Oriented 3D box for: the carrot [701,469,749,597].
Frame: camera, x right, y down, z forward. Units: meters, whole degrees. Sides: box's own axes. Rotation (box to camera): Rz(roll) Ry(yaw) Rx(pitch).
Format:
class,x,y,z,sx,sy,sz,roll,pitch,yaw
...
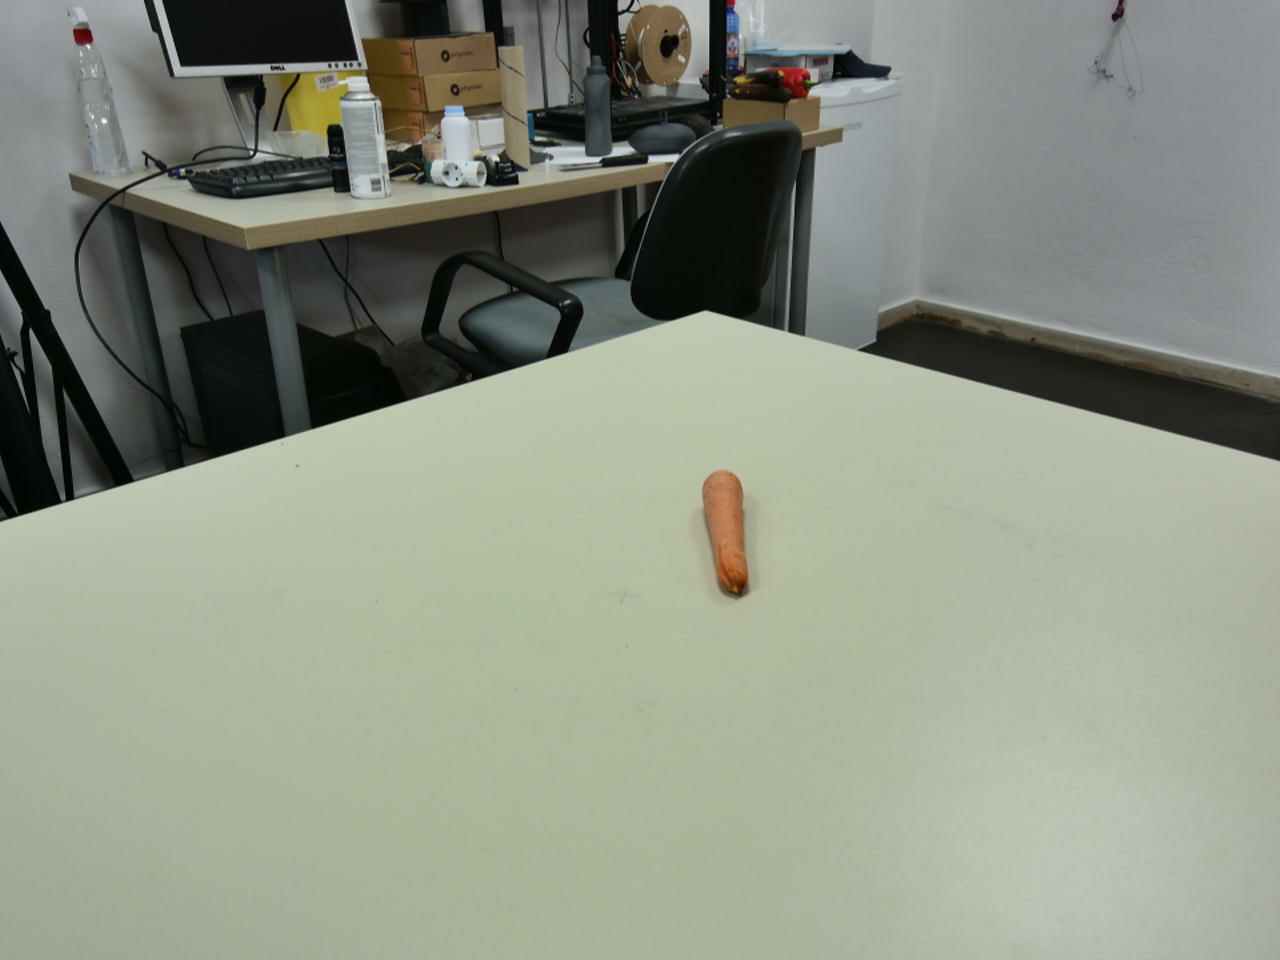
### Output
class,x,y,z,sx,sy,sz,roll,pitch,yaw
carrot,0.055,0.029,0.644,0.030,0.032,0.136,1,24,2
